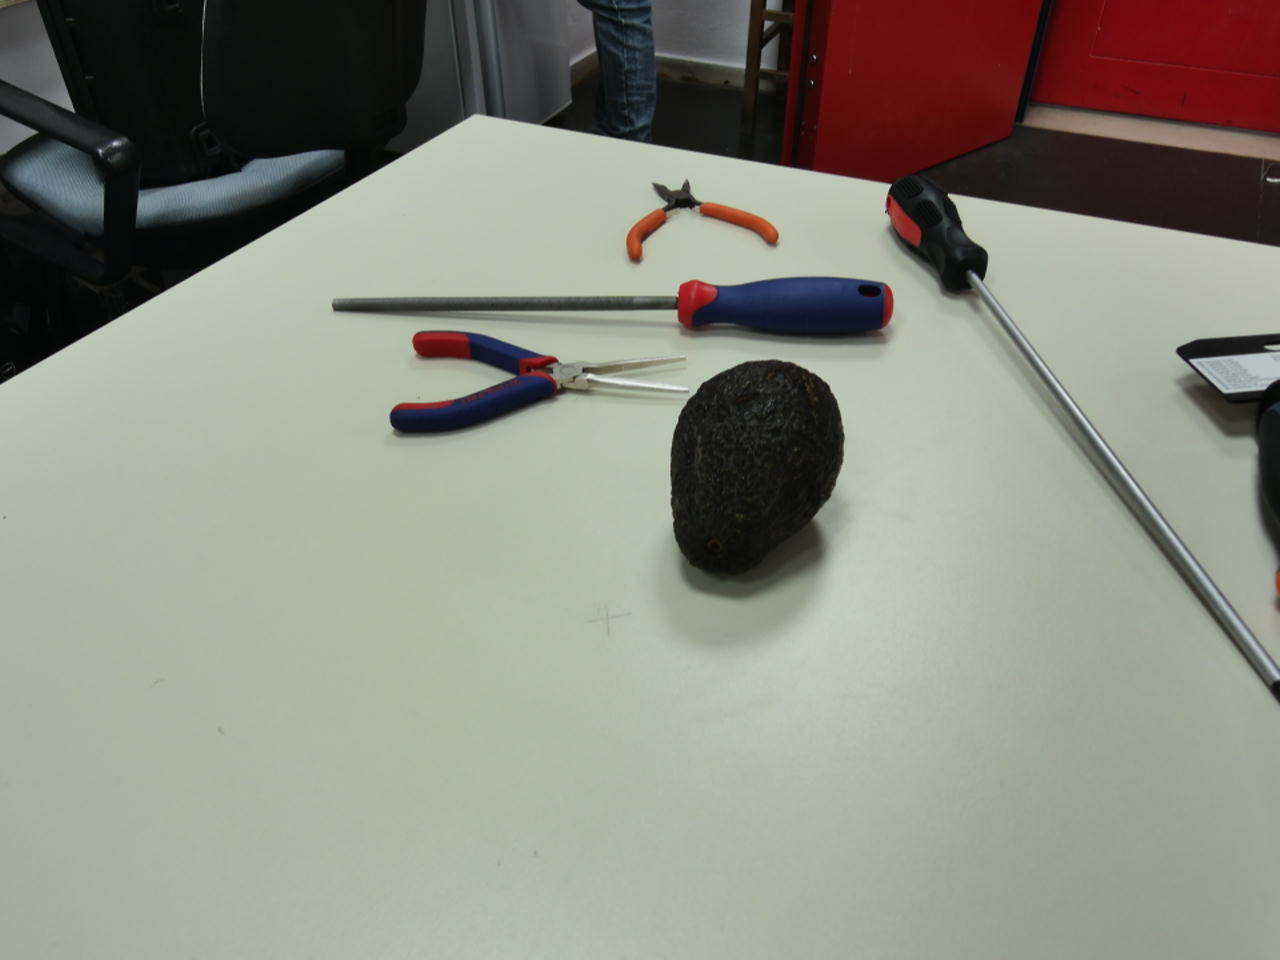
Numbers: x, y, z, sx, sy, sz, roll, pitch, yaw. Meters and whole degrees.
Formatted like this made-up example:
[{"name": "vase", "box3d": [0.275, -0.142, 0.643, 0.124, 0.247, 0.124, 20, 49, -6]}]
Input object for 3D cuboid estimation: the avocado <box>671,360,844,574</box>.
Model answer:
[{"name": "avocado", "box3d": [0.044, -0.010, 0.410, 0.090, 0.069, 0.070, -26, 44, -29]}]
